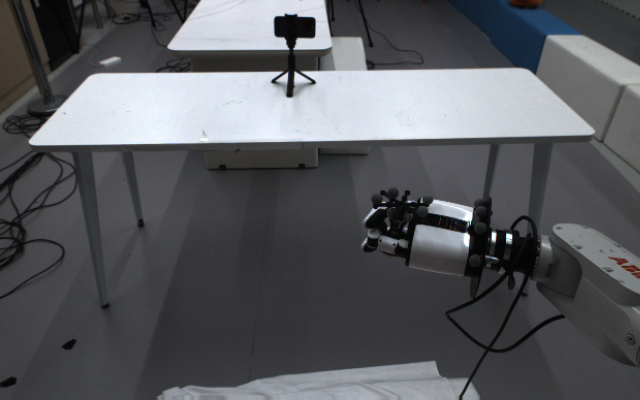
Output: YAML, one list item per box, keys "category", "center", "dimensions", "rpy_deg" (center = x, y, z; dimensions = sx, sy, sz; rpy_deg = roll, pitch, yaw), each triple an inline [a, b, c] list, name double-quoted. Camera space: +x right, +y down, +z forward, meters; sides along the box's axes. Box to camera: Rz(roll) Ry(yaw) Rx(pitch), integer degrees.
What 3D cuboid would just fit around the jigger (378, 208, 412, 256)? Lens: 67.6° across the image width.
- category: "jigger"
  center: [0.124, 0.049, 0.771]
  dimensions: [0.043, 0.071, 0.043]
  rpy_deg: [4, 31, -2]
